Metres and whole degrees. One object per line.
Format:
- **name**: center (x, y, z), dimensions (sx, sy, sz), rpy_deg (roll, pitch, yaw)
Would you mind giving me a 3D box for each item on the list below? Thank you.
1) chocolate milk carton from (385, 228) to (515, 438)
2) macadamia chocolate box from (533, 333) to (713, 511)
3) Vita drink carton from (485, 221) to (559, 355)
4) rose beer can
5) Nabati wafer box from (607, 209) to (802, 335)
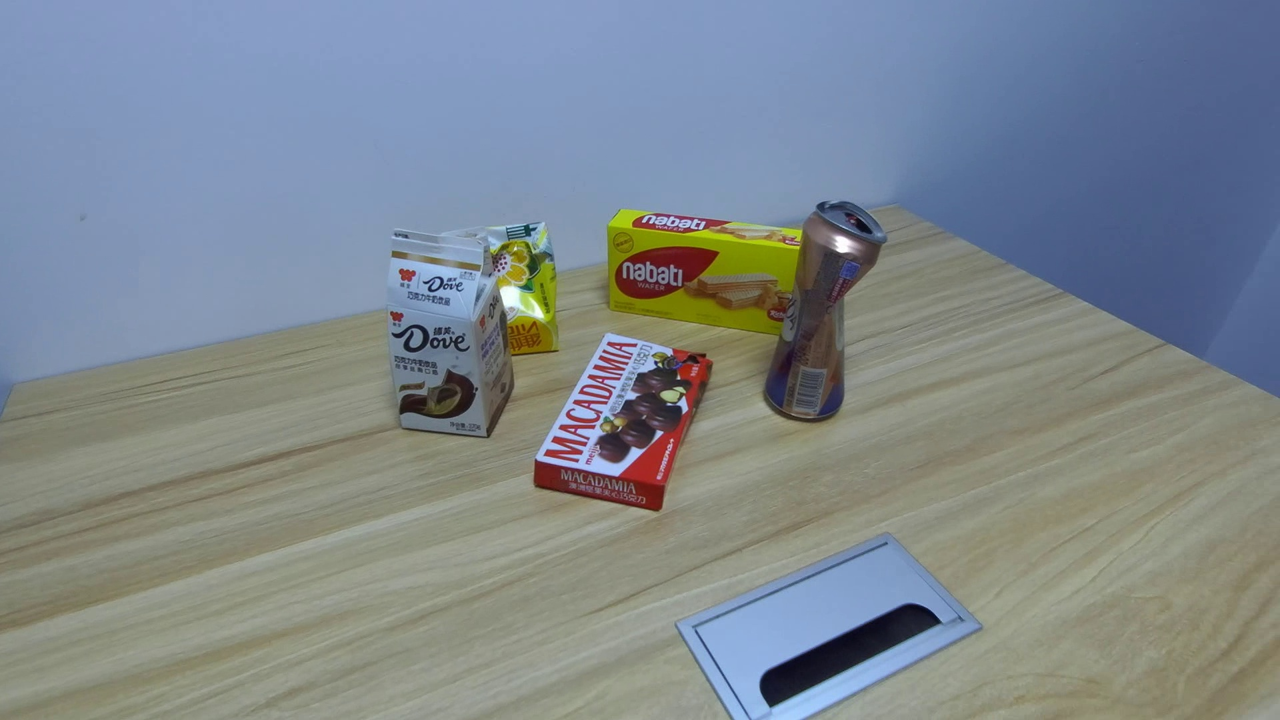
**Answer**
- **chocolate milk carton**: center (-0.149, -0.026, 0.538), dimensions (0.084, 0.155, 0.073), rpy_deg (5, 34, 8)
- **macadamia chocolate box**: center (-0.004, 0.038, 0.559), dimensions (0.102, 0.027, 0.187), rpy_deg (11, 36, 10)
- **Vita drink carton**: center (-0.110, -0.060, 0.627), dimensions (0.071, 0.110, 0.046), rpy_deg (-6, 32, -7)
- **rose beer can**: center (0.140, -0.034, 0.542), dimensions (0.070, 0.168, 0.069), rpy_deg (-13, 37, -28)
- **Nabati wafer box**: center (0.070, -0.081, 0.671), dimensions (0.202, 0.093, 0.042), rpy_deg (9, 34, 12)
